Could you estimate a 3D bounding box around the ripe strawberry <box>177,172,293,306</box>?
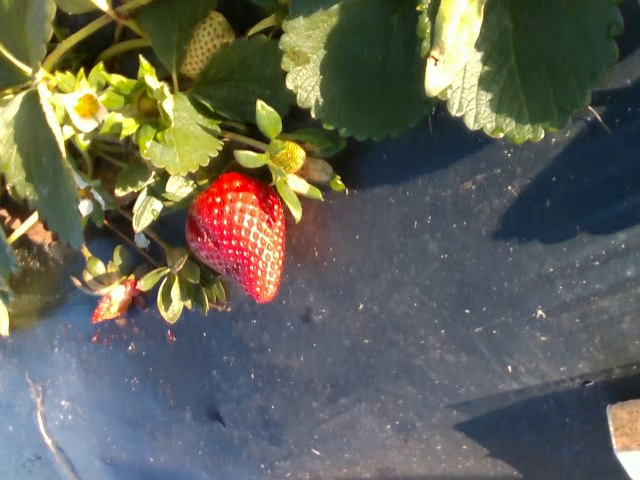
[{"bbox_3d":[-0.032,0.005,0.252,0.041,0.052,0.052,-5,-29,-34],"label":"ripe strawberry"}]
